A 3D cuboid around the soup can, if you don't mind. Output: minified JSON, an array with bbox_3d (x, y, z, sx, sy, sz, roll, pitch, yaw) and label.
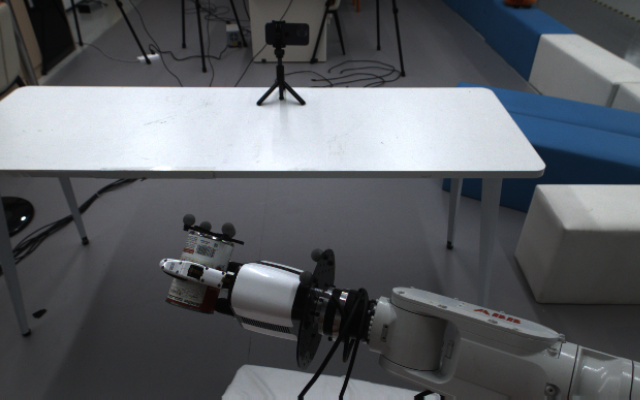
[{"bbox_3d":[-0.167,0.102,0.676,0.067,0.067,0.101,13,76,15],"label":"soup can"}]
